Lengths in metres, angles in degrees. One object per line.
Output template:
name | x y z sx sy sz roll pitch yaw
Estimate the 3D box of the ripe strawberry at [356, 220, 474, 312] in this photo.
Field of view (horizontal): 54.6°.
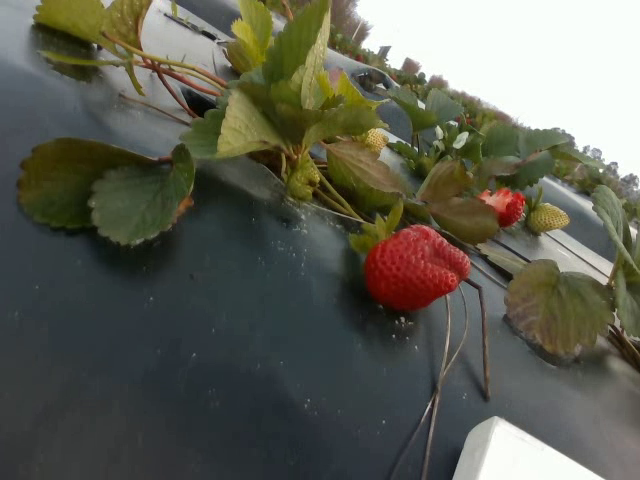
ripe strawberry | 0.012 0.004 0.077 0.017 0.014 0.015 -32 29 -31
